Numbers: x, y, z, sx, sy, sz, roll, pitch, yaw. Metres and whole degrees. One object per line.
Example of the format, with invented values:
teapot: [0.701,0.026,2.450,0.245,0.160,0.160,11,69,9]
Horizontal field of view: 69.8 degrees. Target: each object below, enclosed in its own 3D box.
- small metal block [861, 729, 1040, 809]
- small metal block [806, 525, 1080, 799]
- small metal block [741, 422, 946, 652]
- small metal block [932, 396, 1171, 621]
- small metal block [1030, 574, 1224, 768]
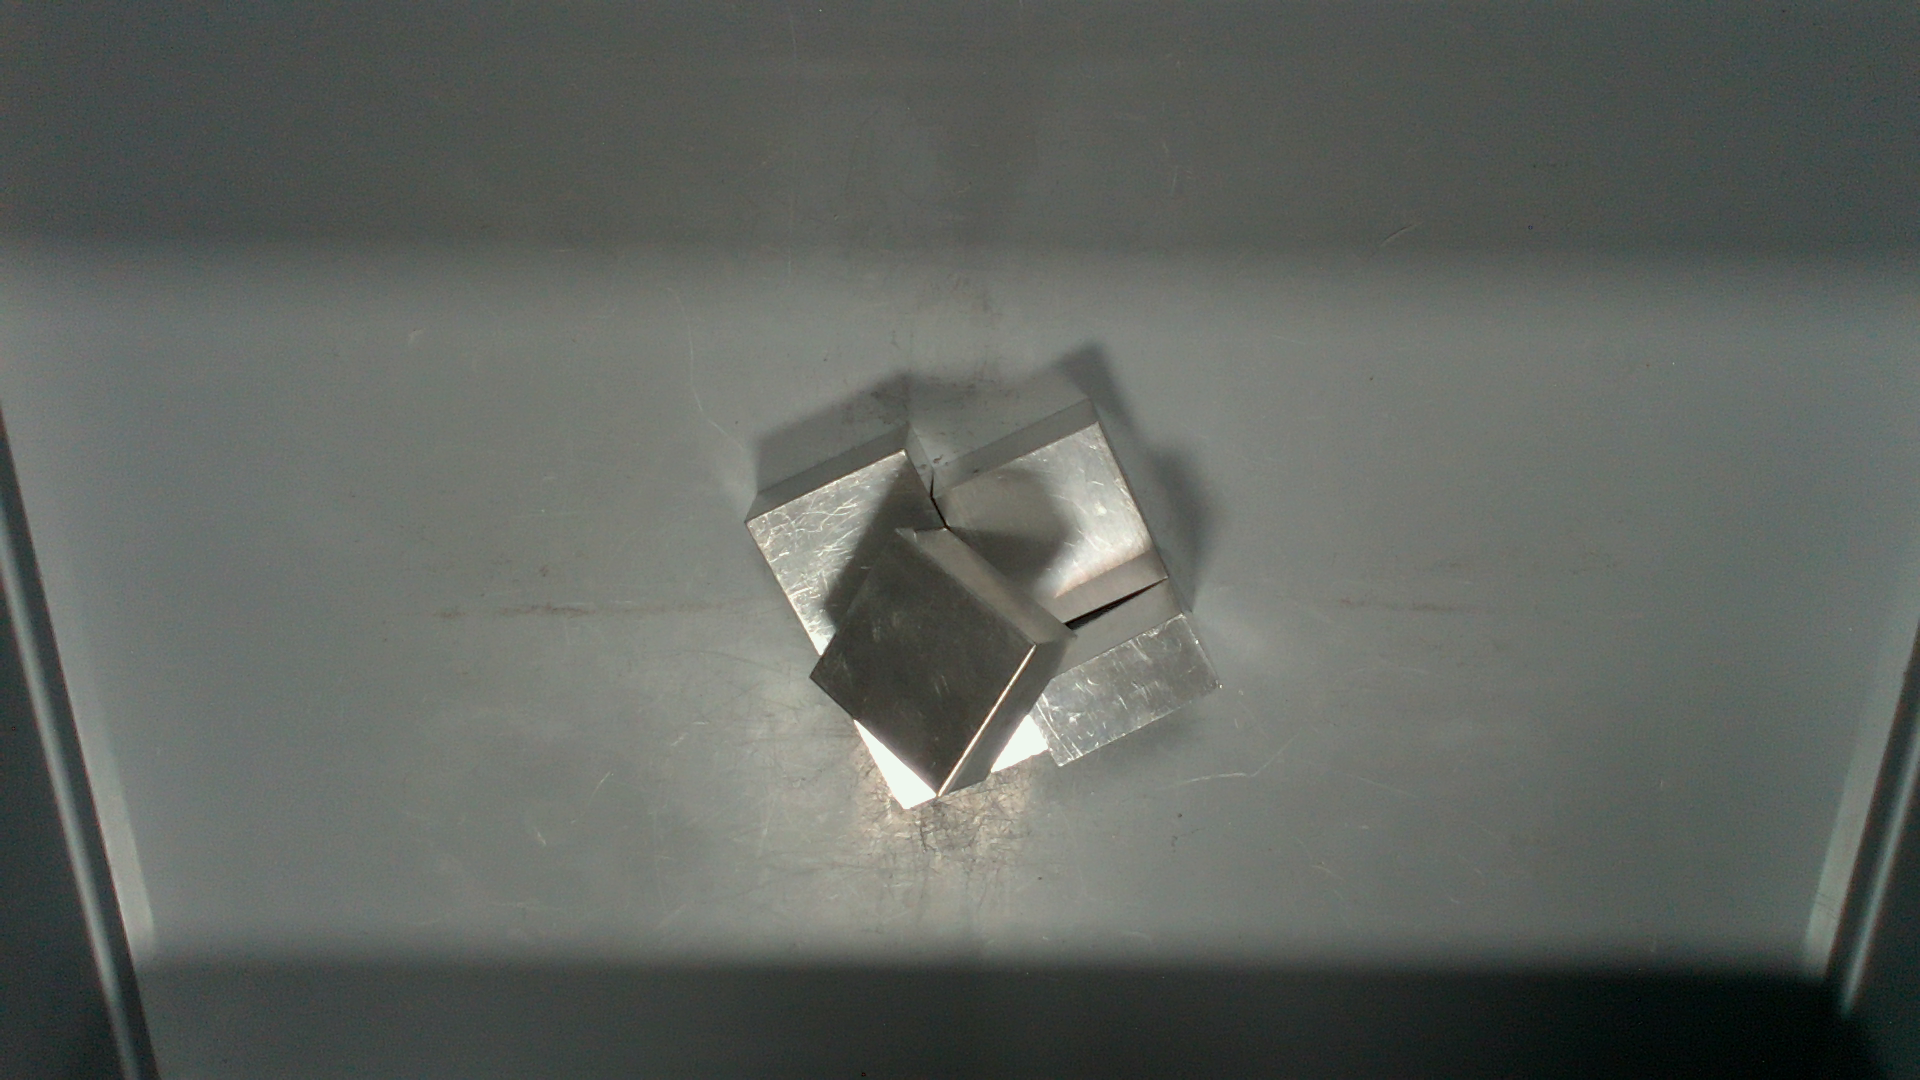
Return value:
small metal block: [-0.005,0.045,0.409,0.050,0.025,0.050,-24,109,8]
small metal block: [-0.005,0.031,0.364,0.050,0.025,0.050,39,109,23]
small metal block: [-0.027,0.002,0.393,0.050,0.025,0.050,-24,109,8]
small metal block: [0.026,-0.005,0.391,0.050,0.025,0.050,-24,109,8]
small metal block: [0.042,0.032,0.391,0.050,0.050,0.025,-27,108,9]
